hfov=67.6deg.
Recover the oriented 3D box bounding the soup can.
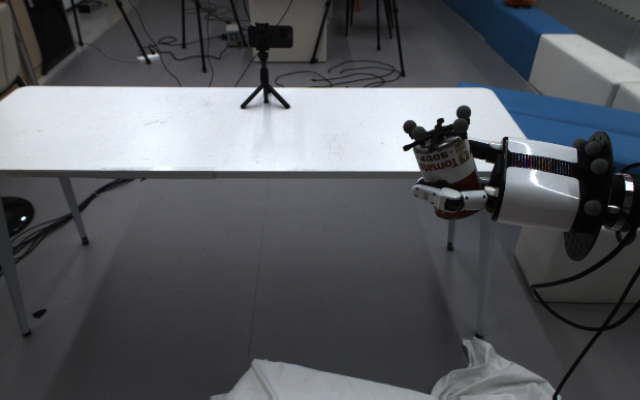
[{"bbox_3d":[0.167,-0.036,0.618,0.067,0.101,0.067,-21,24,10],"label":"soup can"}]
